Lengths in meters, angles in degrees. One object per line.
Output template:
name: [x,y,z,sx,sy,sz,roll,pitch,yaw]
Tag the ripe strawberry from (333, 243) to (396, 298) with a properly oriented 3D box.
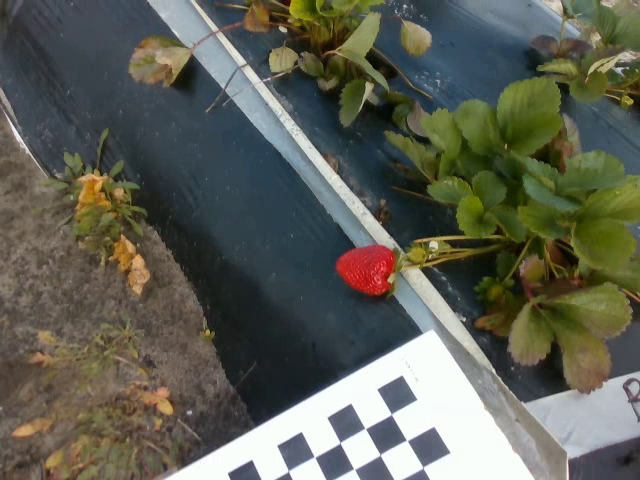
ripe strawberry: [0.036,0.018,0.578,0.052,0.048,0.030,14,-22,-6]
